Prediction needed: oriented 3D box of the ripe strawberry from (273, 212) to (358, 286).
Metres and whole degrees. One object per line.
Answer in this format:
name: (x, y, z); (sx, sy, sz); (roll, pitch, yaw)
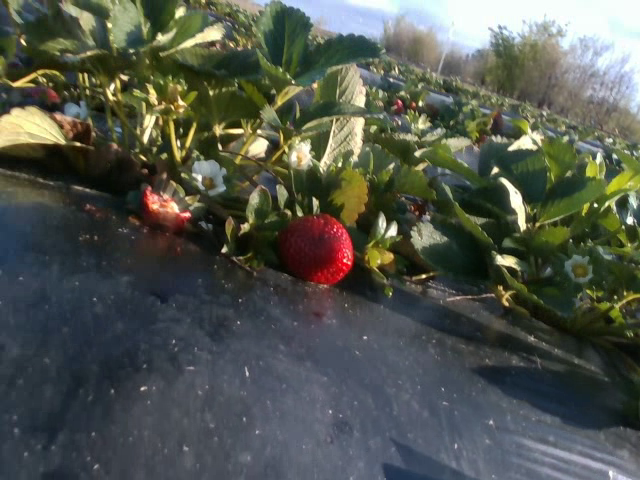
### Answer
ripe strawberry: (0.003, 0.004, 0.338); (0.052, 0.041, 0.051); (-7, 5, -20)
